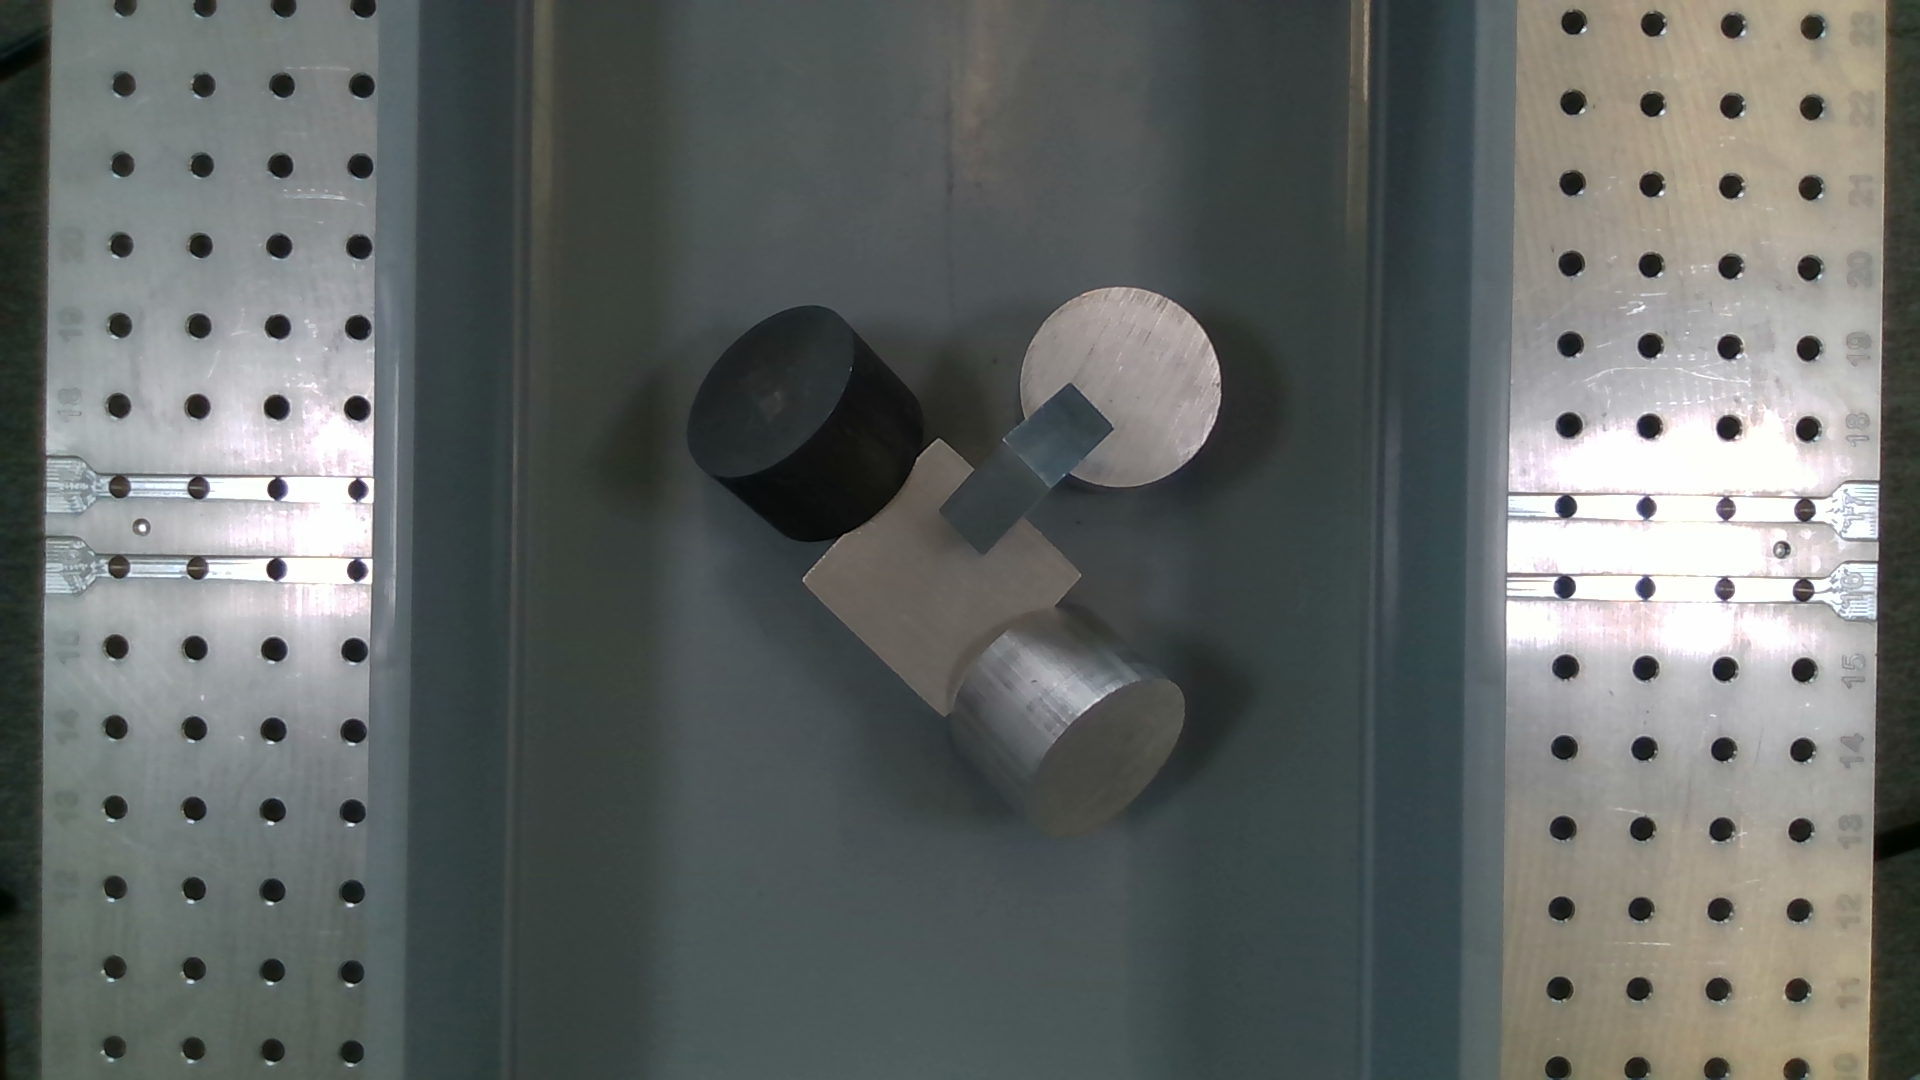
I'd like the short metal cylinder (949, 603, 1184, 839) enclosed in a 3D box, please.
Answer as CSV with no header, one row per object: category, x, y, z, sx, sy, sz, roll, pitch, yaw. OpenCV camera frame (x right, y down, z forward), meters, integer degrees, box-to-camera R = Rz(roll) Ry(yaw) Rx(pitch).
short metal cylinder,0.043,0.072,0.552,0.080,0.080,0.050,-47,52,0

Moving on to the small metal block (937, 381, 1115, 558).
small metal block,0.025,-0.027,0.524,0.025,0.050,0.050,46,47,1

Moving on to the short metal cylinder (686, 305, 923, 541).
short metal cylinder,-0.062,-0.047,0.552,0.080,0.050,0.080,-19,51,25

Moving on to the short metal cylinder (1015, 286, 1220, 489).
short metal cylinder,0.064,-0.061,0.573,0.080,0.050,0.080,0,90,0

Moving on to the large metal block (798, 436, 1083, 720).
large metal block,-0.008,0.015,0.572,0.080,0.050,0.080,44,90,0
